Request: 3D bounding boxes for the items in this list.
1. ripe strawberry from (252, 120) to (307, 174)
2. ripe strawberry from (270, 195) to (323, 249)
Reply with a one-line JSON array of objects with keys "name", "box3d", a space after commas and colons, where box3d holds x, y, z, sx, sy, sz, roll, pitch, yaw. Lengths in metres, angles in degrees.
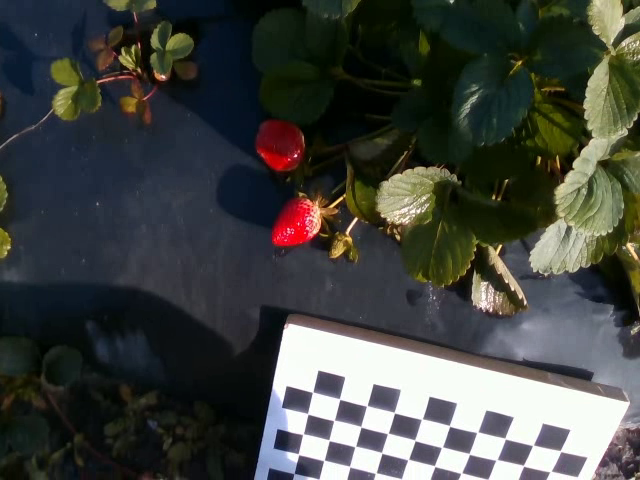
[{"name": "ripe strawberry", "box3d": [-0.034, -0.081, 0.520, 0.054, 0.048, 0.039, 20, 23, -27]}, {"name": "ripe strawberry", "box3d": [-0.022, -0.013, 0.508, 0.053, 0.043, 0.039, -41, 15, -23]}]
